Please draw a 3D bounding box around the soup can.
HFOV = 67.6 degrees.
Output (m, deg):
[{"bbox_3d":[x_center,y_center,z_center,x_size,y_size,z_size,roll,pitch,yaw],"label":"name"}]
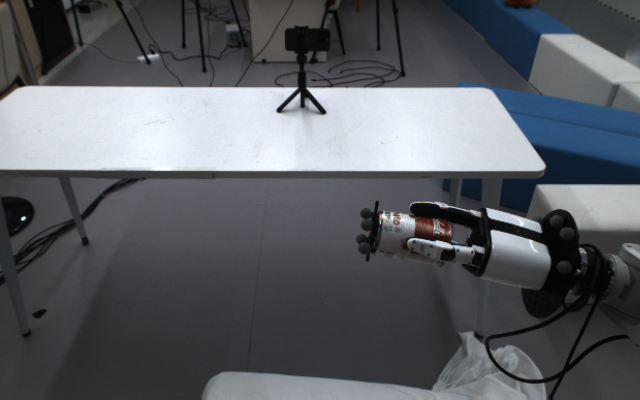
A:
[{"bbox_3d":[0.133,0.054,0.700,0.101,0.067,0.067,9,35,0],"label":"soup can"}]
